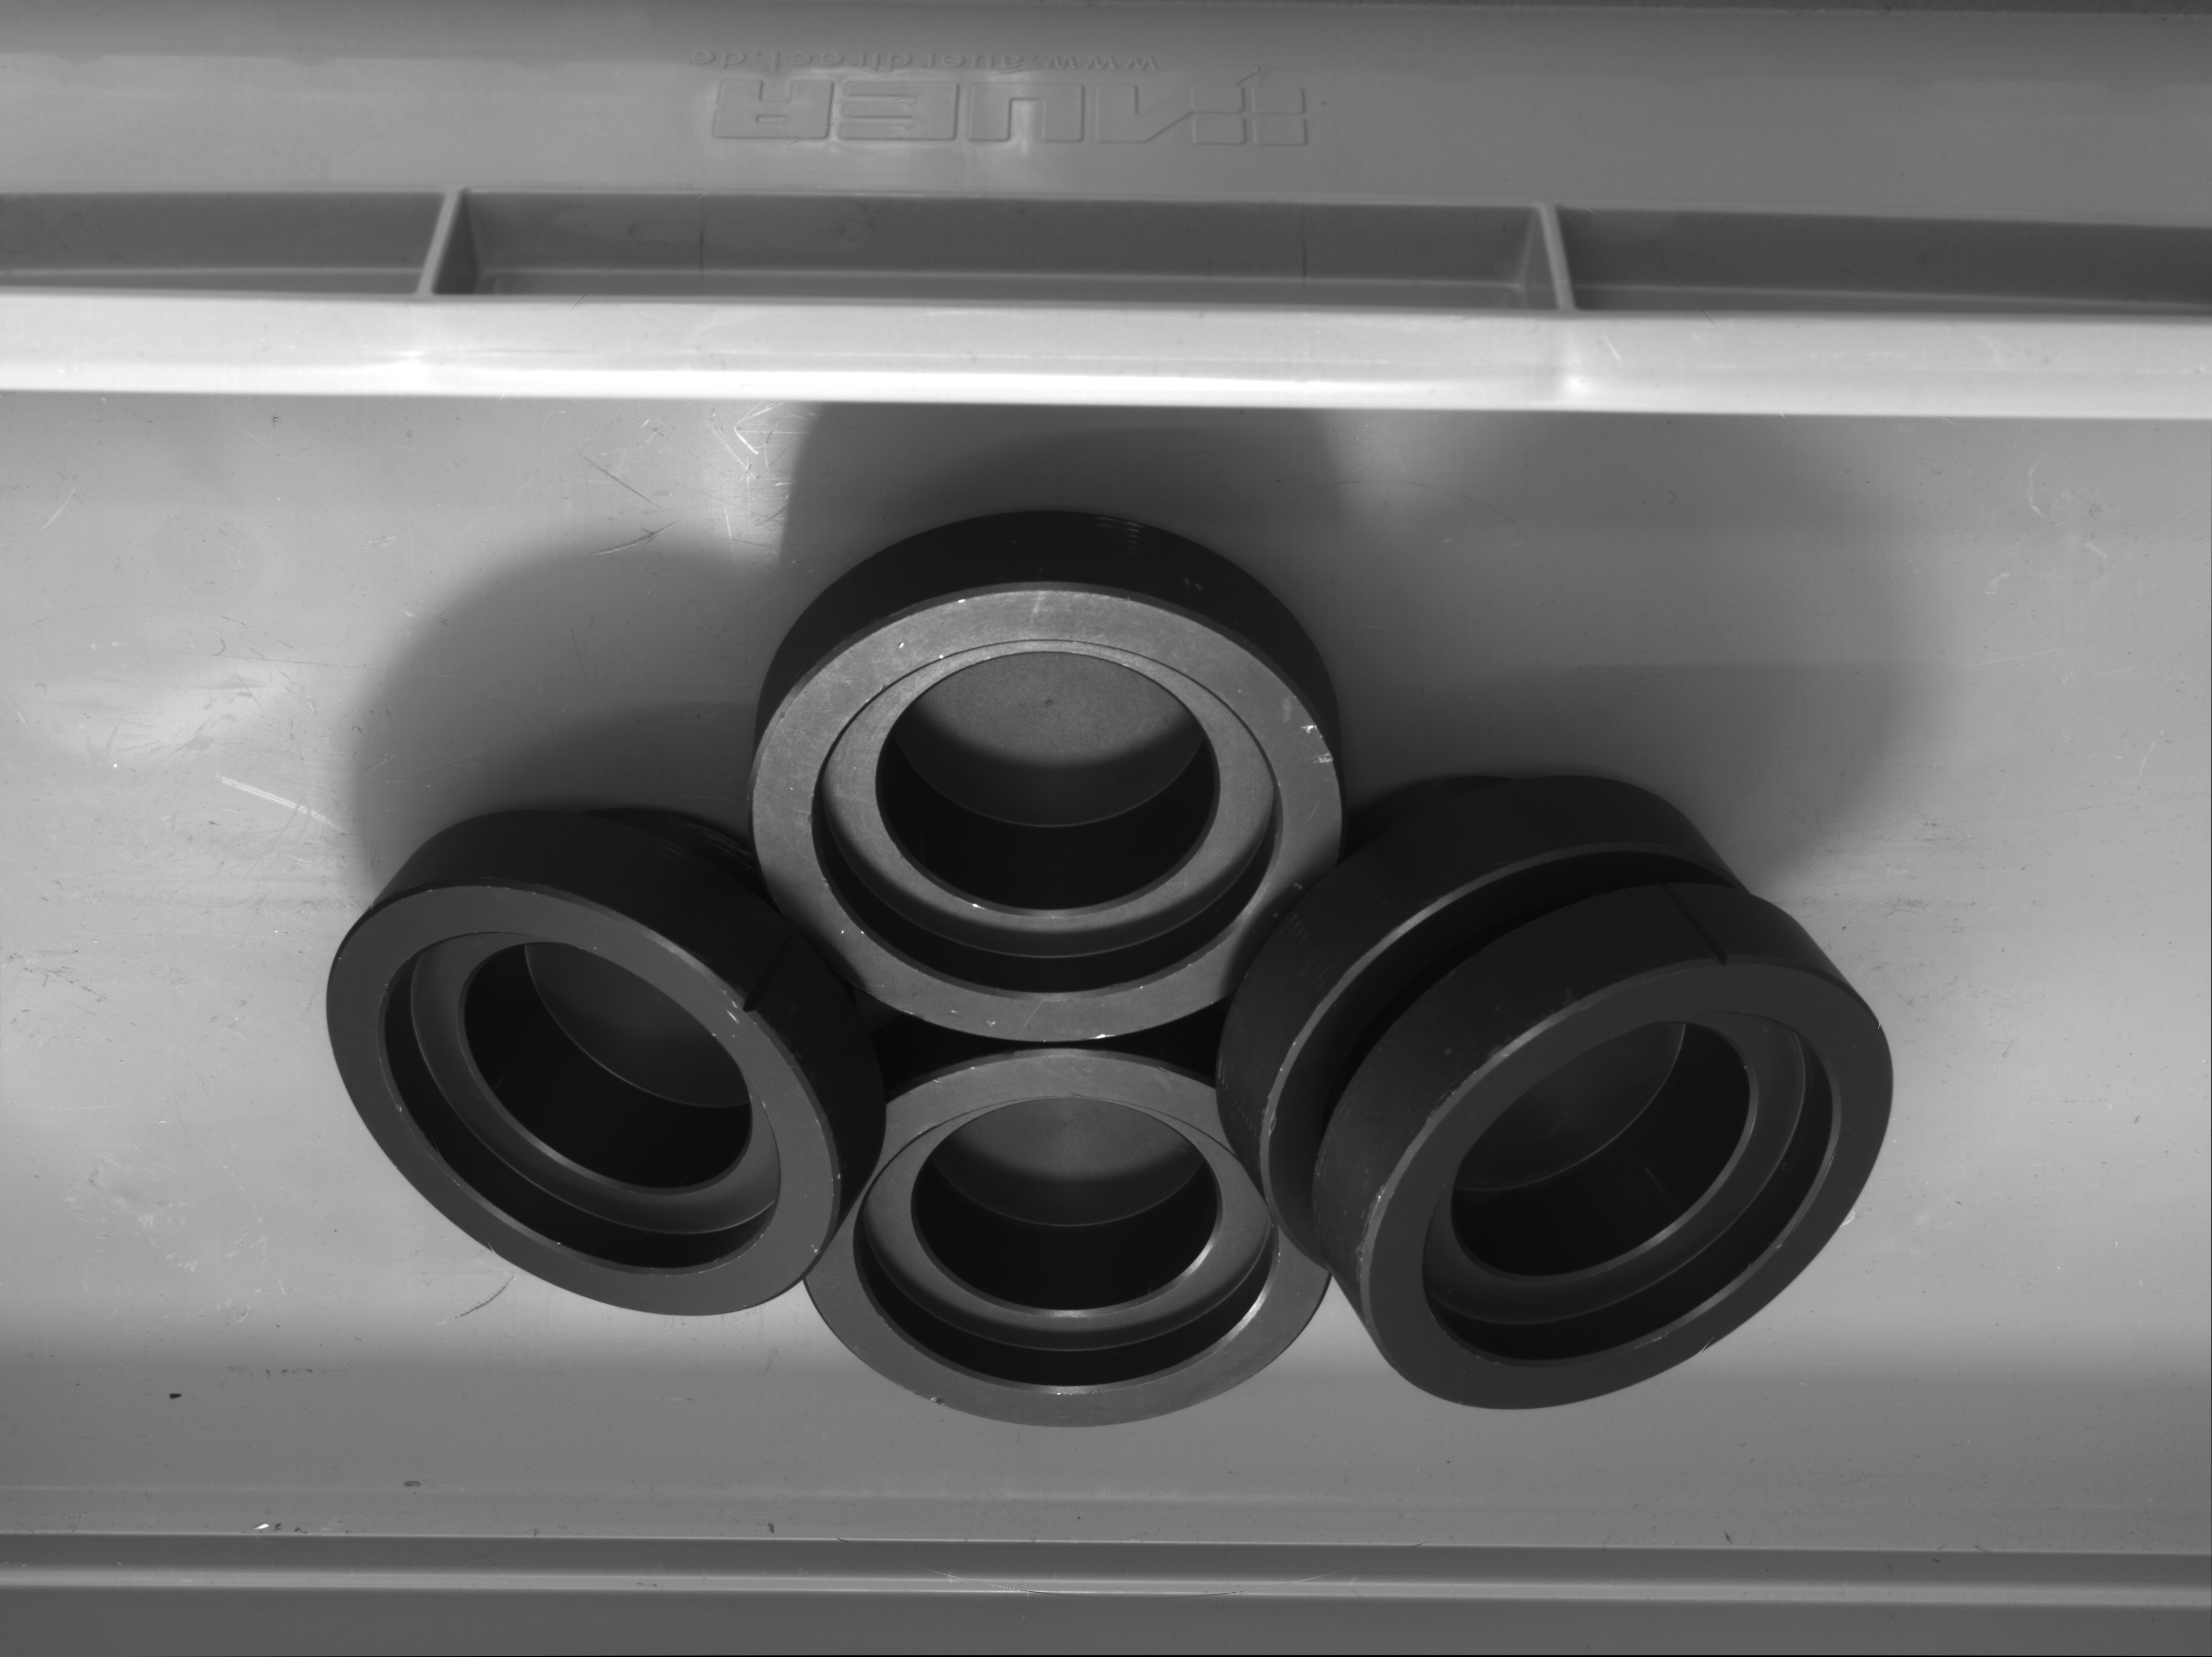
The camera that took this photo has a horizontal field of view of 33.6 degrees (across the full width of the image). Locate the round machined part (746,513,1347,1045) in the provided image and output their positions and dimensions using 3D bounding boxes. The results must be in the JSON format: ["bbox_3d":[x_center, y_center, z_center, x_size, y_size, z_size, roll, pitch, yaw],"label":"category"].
[{"bbox_3d":[-0.010,-0.013,0.614,0.098,0.042,0.098,0,130,0],"label":"round machined part"}]

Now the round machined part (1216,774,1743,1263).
[{"bbox_3d":[0.064,0.030,0.638,0.098,0.042,0.098,-15,131,-17],"label":"round machined part"}]

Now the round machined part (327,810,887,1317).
[{"bbox_3d":[-0.083,0.036,0.643,0.098,0.042,0.098,13,131,16],"label":"round machined part"}]

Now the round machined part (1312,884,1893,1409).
[{"bbox_3d":[0.079,0.048,0.616,0.098,0.042,0.098,-15,132,-17],"label":"round machined part"}]

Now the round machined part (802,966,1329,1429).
[{"bbox_3d":[-0.007,0.063,0.679,0.098,0.042,0.098,0,130,0],"label":"round machined part"}]
